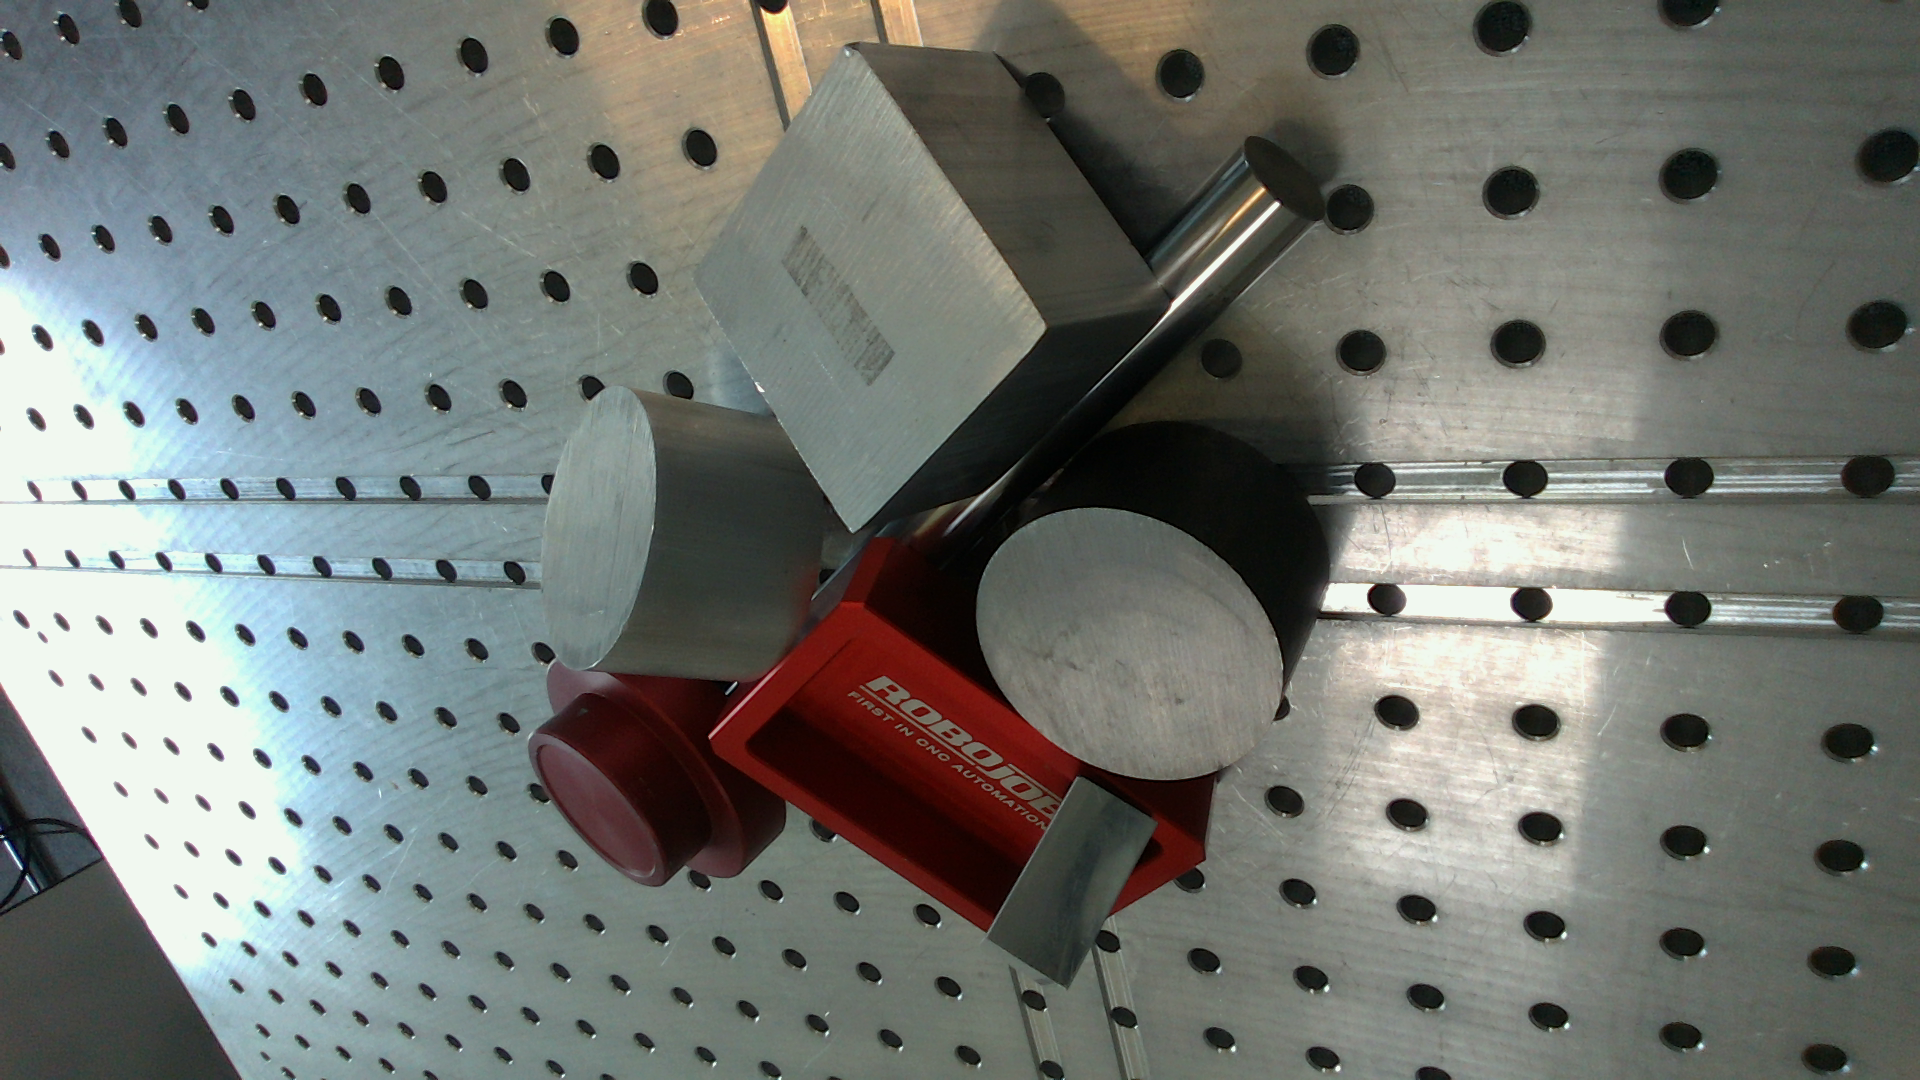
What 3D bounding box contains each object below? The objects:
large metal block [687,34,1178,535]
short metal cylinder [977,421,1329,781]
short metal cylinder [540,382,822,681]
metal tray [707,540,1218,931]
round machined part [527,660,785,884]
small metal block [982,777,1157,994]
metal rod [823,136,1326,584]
[{"bbox_3d":[-0.009,-0.061,0.332,0.080,0.050,0.080,-43,74,39],"label":"large metal block"},{"bbox_3d":[0.051,0.016,0.361,0.080,0.050,0.080,13,124,21],"label":"short metal cylinder"},{"bbox_3d":[-0.082,-0.001,0.396,0.080,0.050,0.080,-16,70,52],"label":"short metal cylinder"},{"bbox_3d":[0.001,0.067,0.415,0.130,0.030,0.090,36,131,-12],"label":"metal tray"},{"bbox_3d":[-0.111,0.080,0.476,0.098,0.042,0.098,28,140,26],"label":"round machined part"},{"bbox_3d":[0.029,0.098,0.387,0.025,0.050,0.050,29,163,8],"label":"small metal block"},{"bbox_3d":[-0.010,-0.001,0.403,0.025,0.025,0.299,44,130,-2],"label":"metal rod"}]
